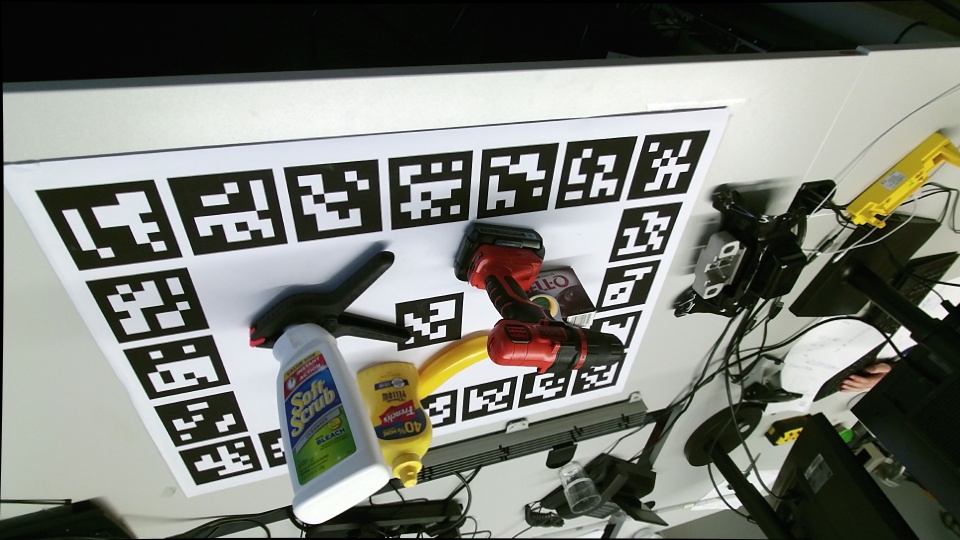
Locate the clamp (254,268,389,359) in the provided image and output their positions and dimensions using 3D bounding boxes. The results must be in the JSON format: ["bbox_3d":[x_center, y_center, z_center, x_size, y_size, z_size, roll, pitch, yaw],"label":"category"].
[{"bbox_3d":[-0.194,0.086,0.709,0.203,0.036,0.165,-14,130,-10],"label":"clamp"}]

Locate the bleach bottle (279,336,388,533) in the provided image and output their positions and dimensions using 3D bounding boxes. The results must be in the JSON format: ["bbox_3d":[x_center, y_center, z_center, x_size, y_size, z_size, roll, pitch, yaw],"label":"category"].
[{"bbox_3d":[-0.195,0.167,0.633,0.103,0.250,0.068,-29,138,-9],"label":"bleach bottle"}]

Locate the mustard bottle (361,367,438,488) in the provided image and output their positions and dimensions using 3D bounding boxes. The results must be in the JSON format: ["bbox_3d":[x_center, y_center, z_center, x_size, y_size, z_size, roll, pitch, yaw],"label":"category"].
[{"bbox_3d":[-0.114,0.229,0.785,0.096,0.190,0.058,2,127,-24],"label":"mustard bottle"}]

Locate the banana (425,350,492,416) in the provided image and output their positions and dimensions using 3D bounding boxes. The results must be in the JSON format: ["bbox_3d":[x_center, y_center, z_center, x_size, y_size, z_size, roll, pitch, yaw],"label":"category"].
[{"bbox_3d":[-0.032,0.184,0.871,0.197,0.038,0.074,-39,149,11],"label":"banana"}]

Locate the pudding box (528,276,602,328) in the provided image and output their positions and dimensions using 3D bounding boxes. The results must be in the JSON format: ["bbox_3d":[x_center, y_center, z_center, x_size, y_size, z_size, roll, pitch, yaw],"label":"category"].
[{"bbox_3d":[0.109,0.056,0.797,0.114,0.089,0.038,-6,136,-18],"label":"pudding box"}]

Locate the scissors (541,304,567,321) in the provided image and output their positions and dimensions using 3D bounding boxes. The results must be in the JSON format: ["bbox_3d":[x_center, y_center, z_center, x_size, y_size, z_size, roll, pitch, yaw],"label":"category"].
[{"bbox_3d":[0.138,0.099,0.757,0.204,0.016,0.087,15,117,-27],"label":"scissors"}]

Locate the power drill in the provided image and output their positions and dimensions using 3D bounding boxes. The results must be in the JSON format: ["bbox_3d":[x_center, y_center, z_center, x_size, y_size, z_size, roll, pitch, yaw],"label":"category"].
[{"bbox_3d":[0.081,0.047,0.672,0.185,0.186,0.057,-1,134,-26],"label":"power drill"}]
